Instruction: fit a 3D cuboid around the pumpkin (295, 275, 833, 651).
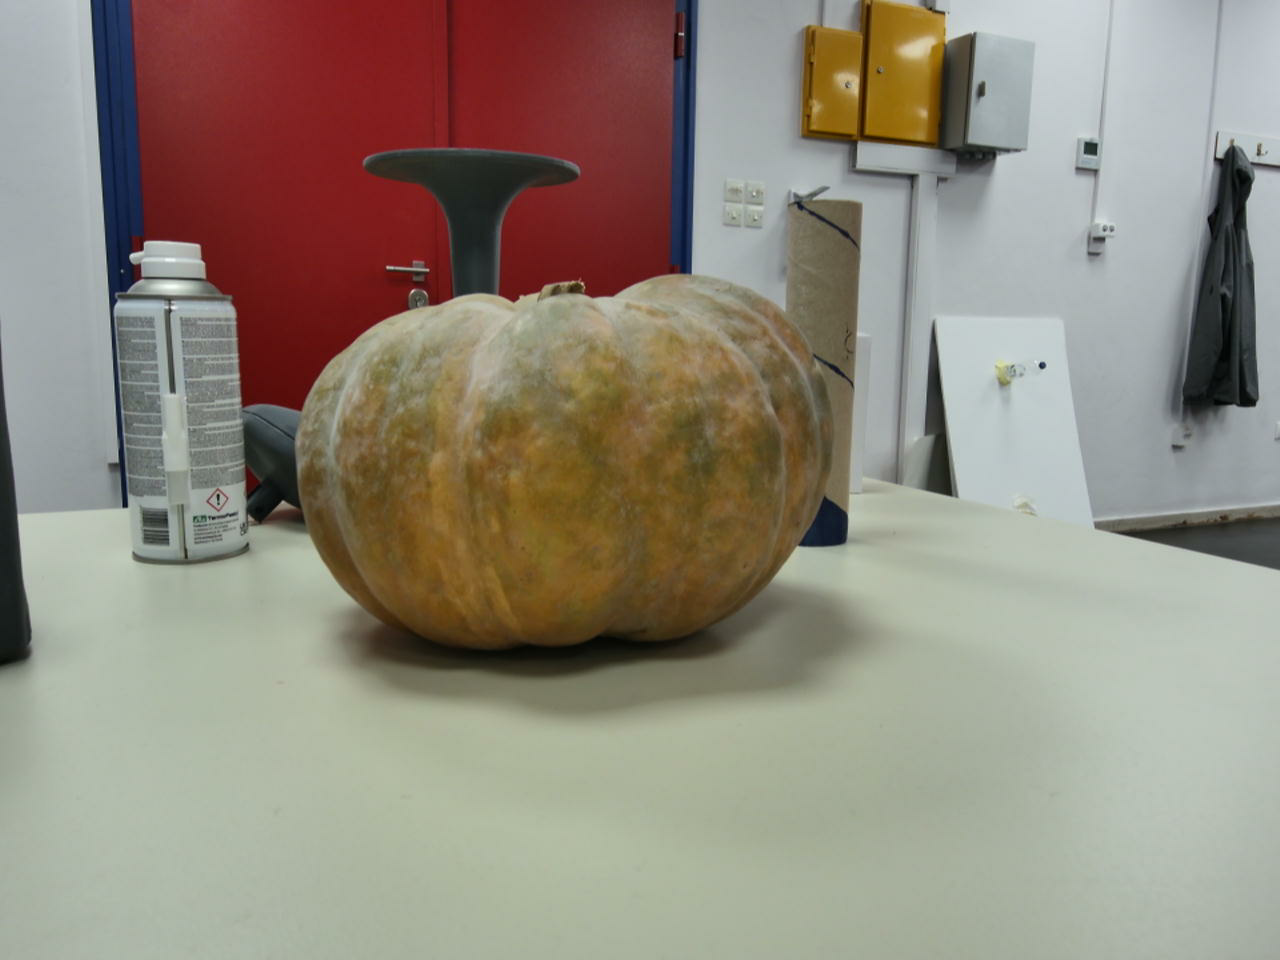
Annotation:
[{"bbox_3d":[-0.036,-0.014,0.476,0.252,0.168,0.252,0,7,0],"label":"pumpkin"}]
